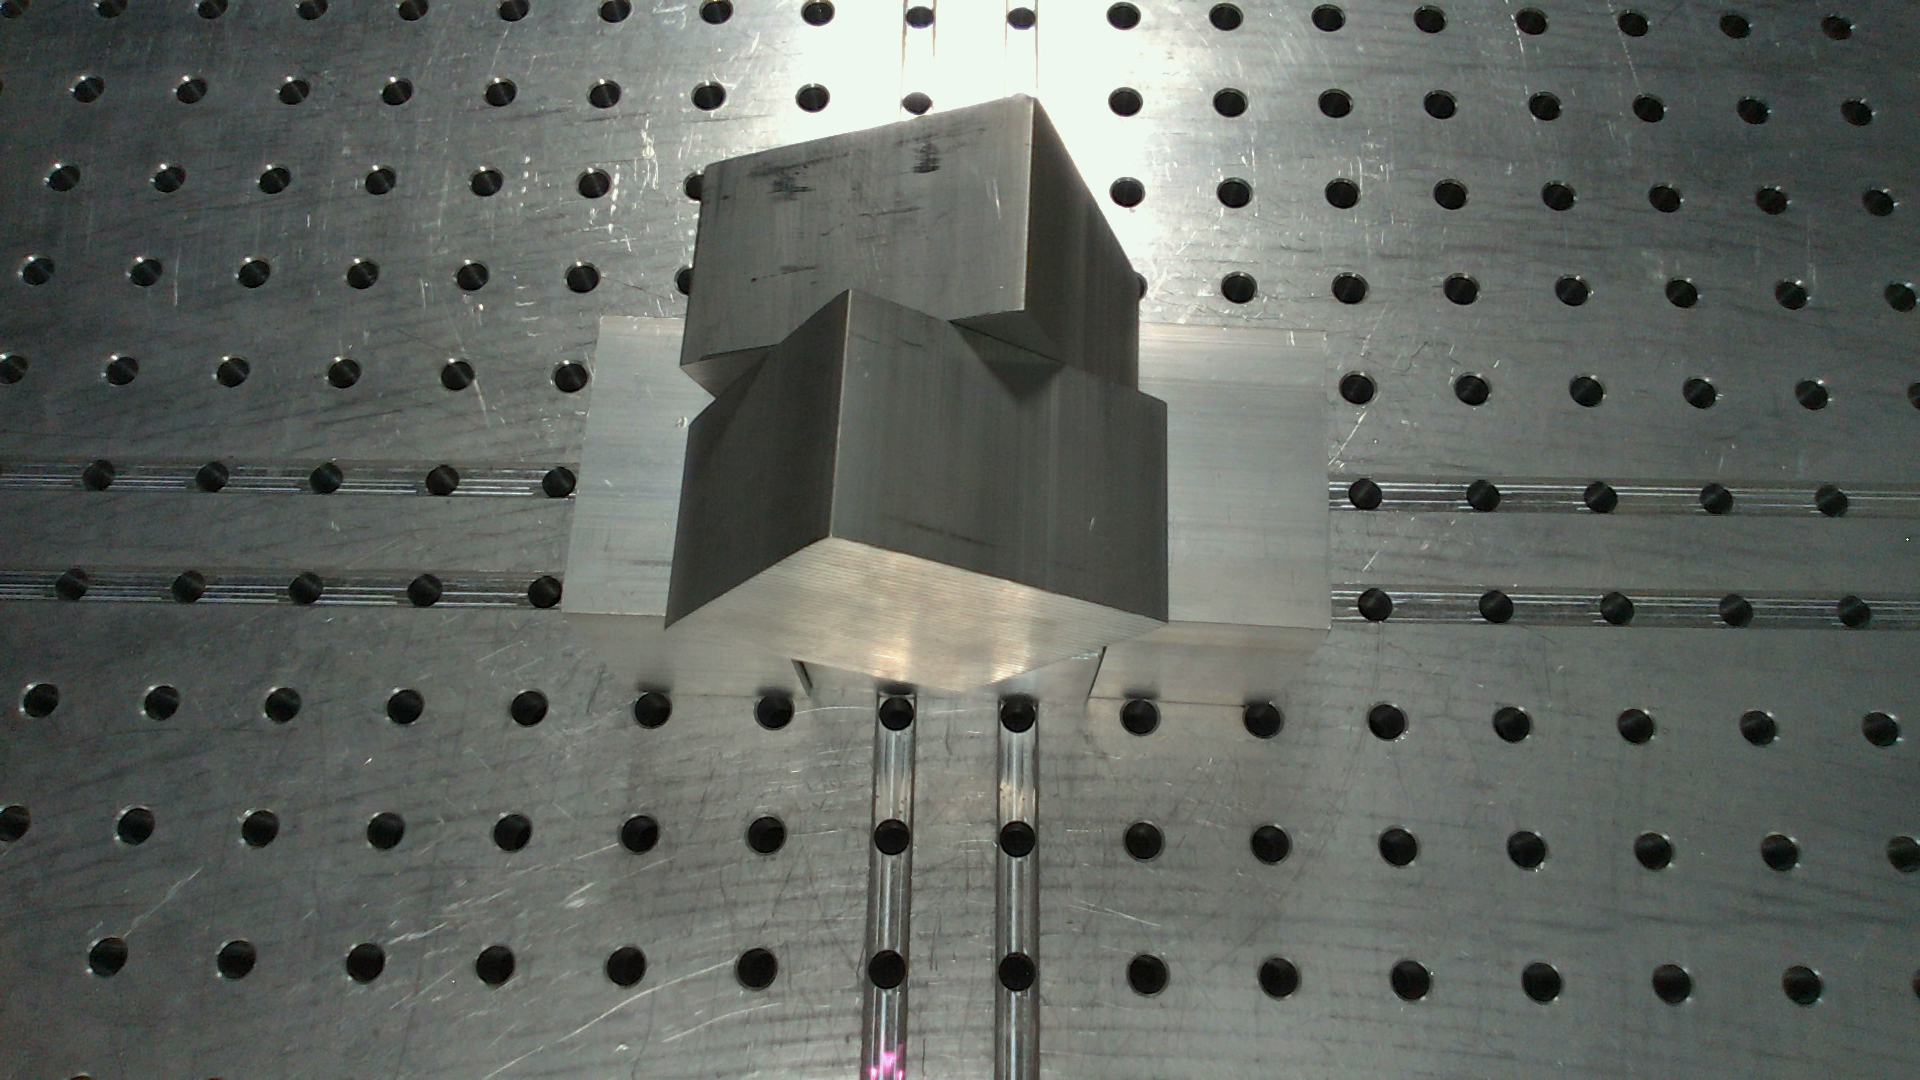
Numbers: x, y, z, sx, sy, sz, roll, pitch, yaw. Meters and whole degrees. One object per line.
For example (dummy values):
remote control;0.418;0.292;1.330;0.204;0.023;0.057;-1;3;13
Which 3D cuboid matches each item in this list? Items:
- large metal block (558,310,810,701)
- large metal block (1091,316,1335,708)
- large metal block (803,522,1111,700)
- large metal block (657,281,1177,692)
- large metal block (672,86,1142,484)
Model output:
large metal block;-0.067;-0.006;0.370;0.050;0.080;0.080;2;70;1
large metal block;0.065;-0.004;0.369;0.050;0.080;0.080;4;70;2
large metal block;0.000;-0.002;0.382;0.080;0.050;0.080;2;70;1
large metal block;-0.010;-0.005;0.298;0.080;0.080;0.050;15;66;-30
large metal block;-0.007;-0.051;0.319;0.080;0.080;0.050;-6;68;22
